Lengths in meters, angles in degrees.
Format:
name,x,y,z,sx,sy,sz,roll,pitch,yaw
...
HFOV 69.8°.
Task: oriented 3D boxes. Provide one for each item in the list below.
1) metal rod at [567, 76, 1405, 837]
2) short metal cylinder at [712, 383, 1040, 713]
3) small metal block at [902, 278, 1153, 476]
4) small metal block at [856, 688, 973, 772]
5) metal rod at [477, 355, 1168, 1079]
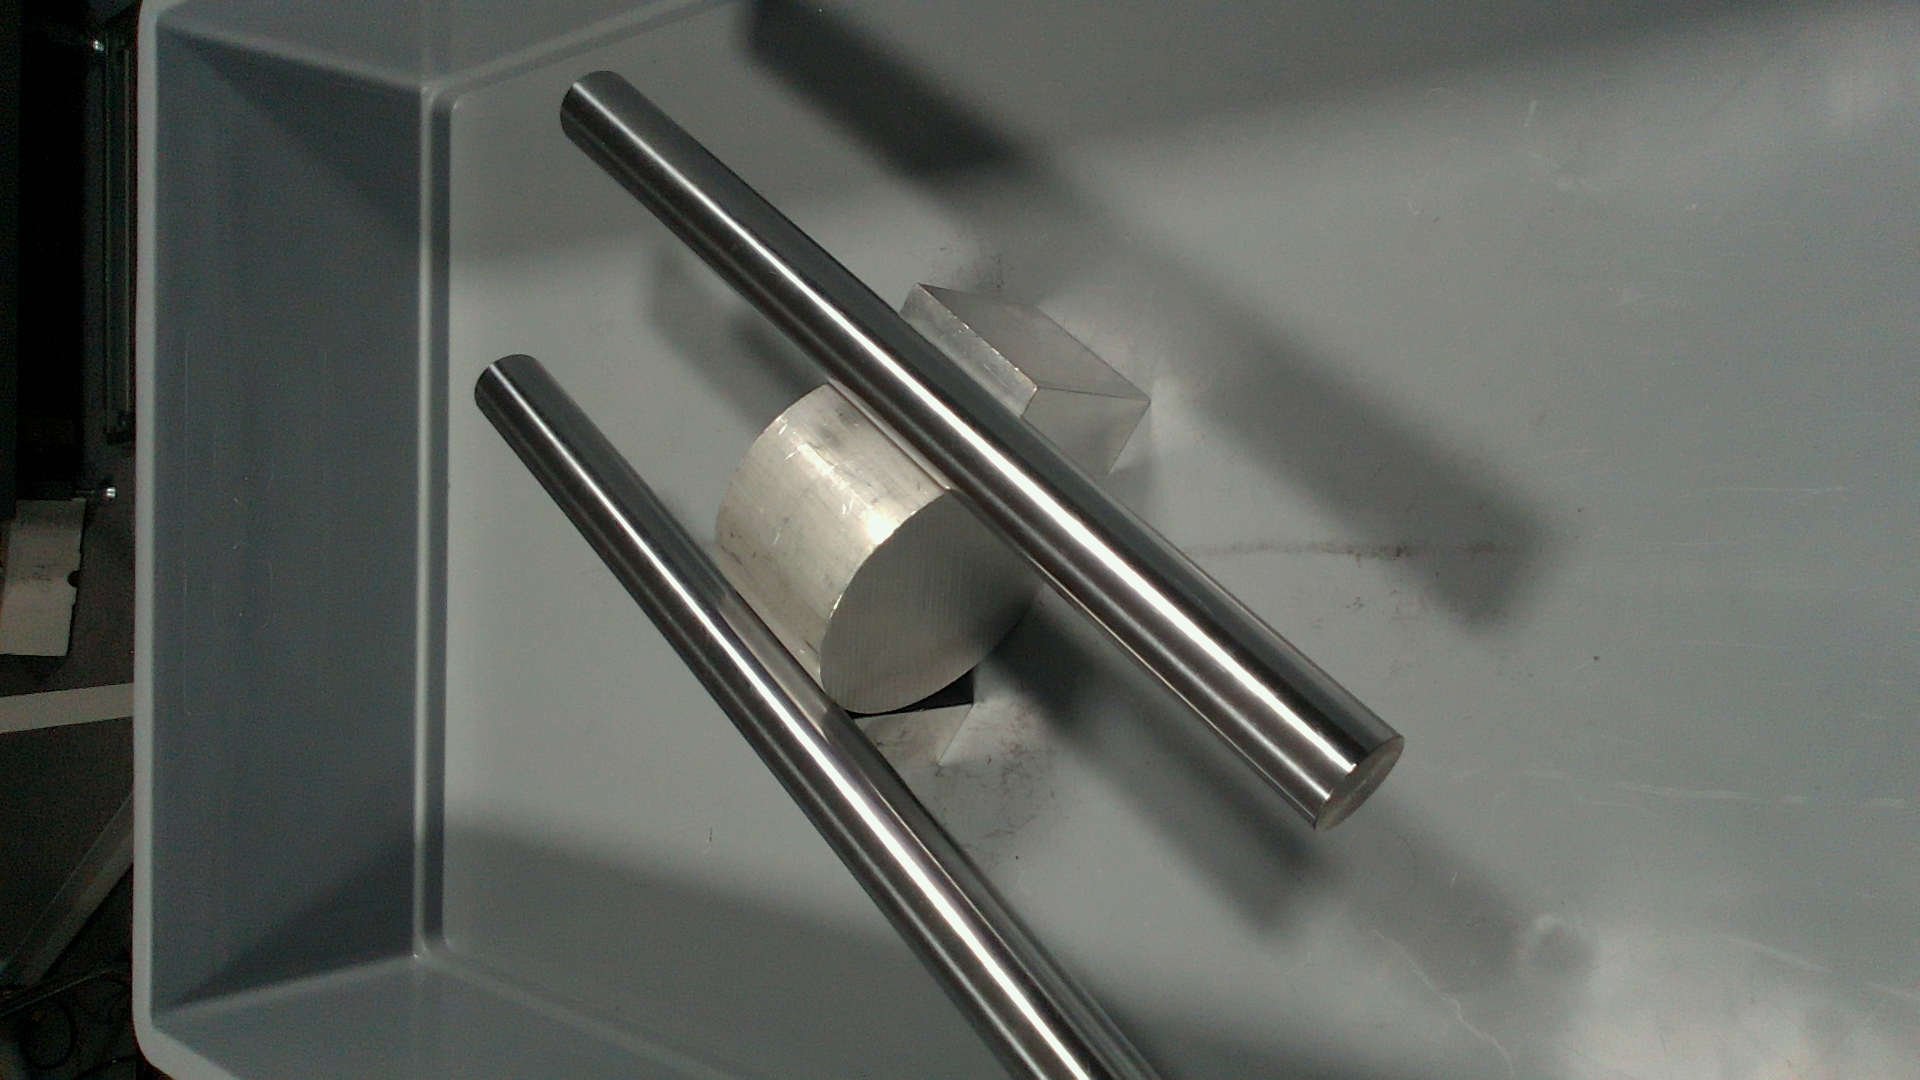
name,x,y,z,sx,sy,sz,roll,pitch,yaw
metal rod,-0.016,-0.041,0.341,0.299,0.025,0.025,44,117,31
short metal cylinder,-0.019,0.000,0.374,0.050,0.080,0.080,44,117,31
small metal block,0.014,-0.042,0.364,0.050,0.050,0.025,44,117,31
small metal block,-0.033,0.043,0.405,0.050,0.050,0.025,44,117,31
metal rod,-0.056,0.038,0.376,0.299,0.025,0.025,44,117,32
